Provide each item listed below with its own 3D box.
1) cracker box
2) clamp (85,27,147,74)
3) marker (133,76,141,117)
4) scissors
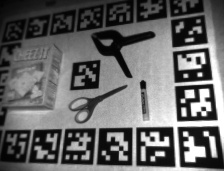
[{"bbox_3d":[-0.289,-0.032,0.740,0.163,0.073,0.213,-3,70,17],"label":"cracker box"},{"bbox_3d":[-0.007,-0.143,0.724,0.200,0.037,0.165,27,80,24],"label":"clamp"},{"bbox_3d":[0.072,0.030,0.630,0.019,0.020,0.120,-7,68,16],"label":"marker"},{"bbox_3d":[-0.063,0.036,0.672,0.202,0.016,0.087,-31,64,3],"label":"scissors"}]
